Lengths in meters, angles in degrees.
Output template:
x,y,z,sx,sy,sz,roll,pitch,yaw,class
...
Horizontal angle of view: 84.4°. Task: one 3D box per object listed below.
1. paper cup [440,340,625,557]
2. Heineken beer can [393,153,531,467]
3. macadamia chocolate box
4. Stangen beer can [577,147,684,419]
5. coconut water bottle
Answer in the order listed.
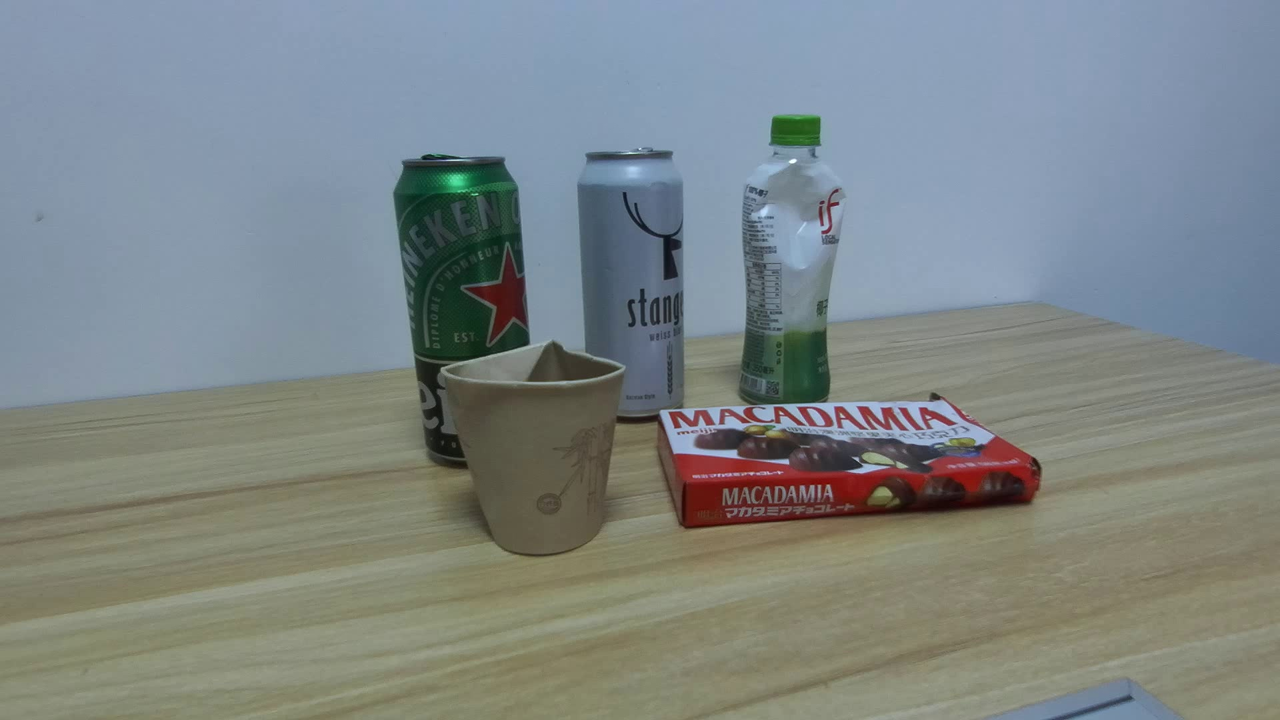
x,y,z,sx,sy,sz,roll,pitch,yaw,class
-0.047,0.041,0.326,0.066,0.084,0.071,-14,20,-38,paper cup
-0.098,-0.027,0.404,0.067,0.169,0.067,-1,17,1,Heineken beer can
0.104,0.051,0.381,0.183,0.028,0.105,-3,18,-7,macadamia chocolate box
-0.004,-0.048,0.461,0.067,0.171,0.067,-1,15,1,Stangen beer can
0.100,-0.064,0.468,0.069,0.187,0.069,0,17,0,coconut water bottle
